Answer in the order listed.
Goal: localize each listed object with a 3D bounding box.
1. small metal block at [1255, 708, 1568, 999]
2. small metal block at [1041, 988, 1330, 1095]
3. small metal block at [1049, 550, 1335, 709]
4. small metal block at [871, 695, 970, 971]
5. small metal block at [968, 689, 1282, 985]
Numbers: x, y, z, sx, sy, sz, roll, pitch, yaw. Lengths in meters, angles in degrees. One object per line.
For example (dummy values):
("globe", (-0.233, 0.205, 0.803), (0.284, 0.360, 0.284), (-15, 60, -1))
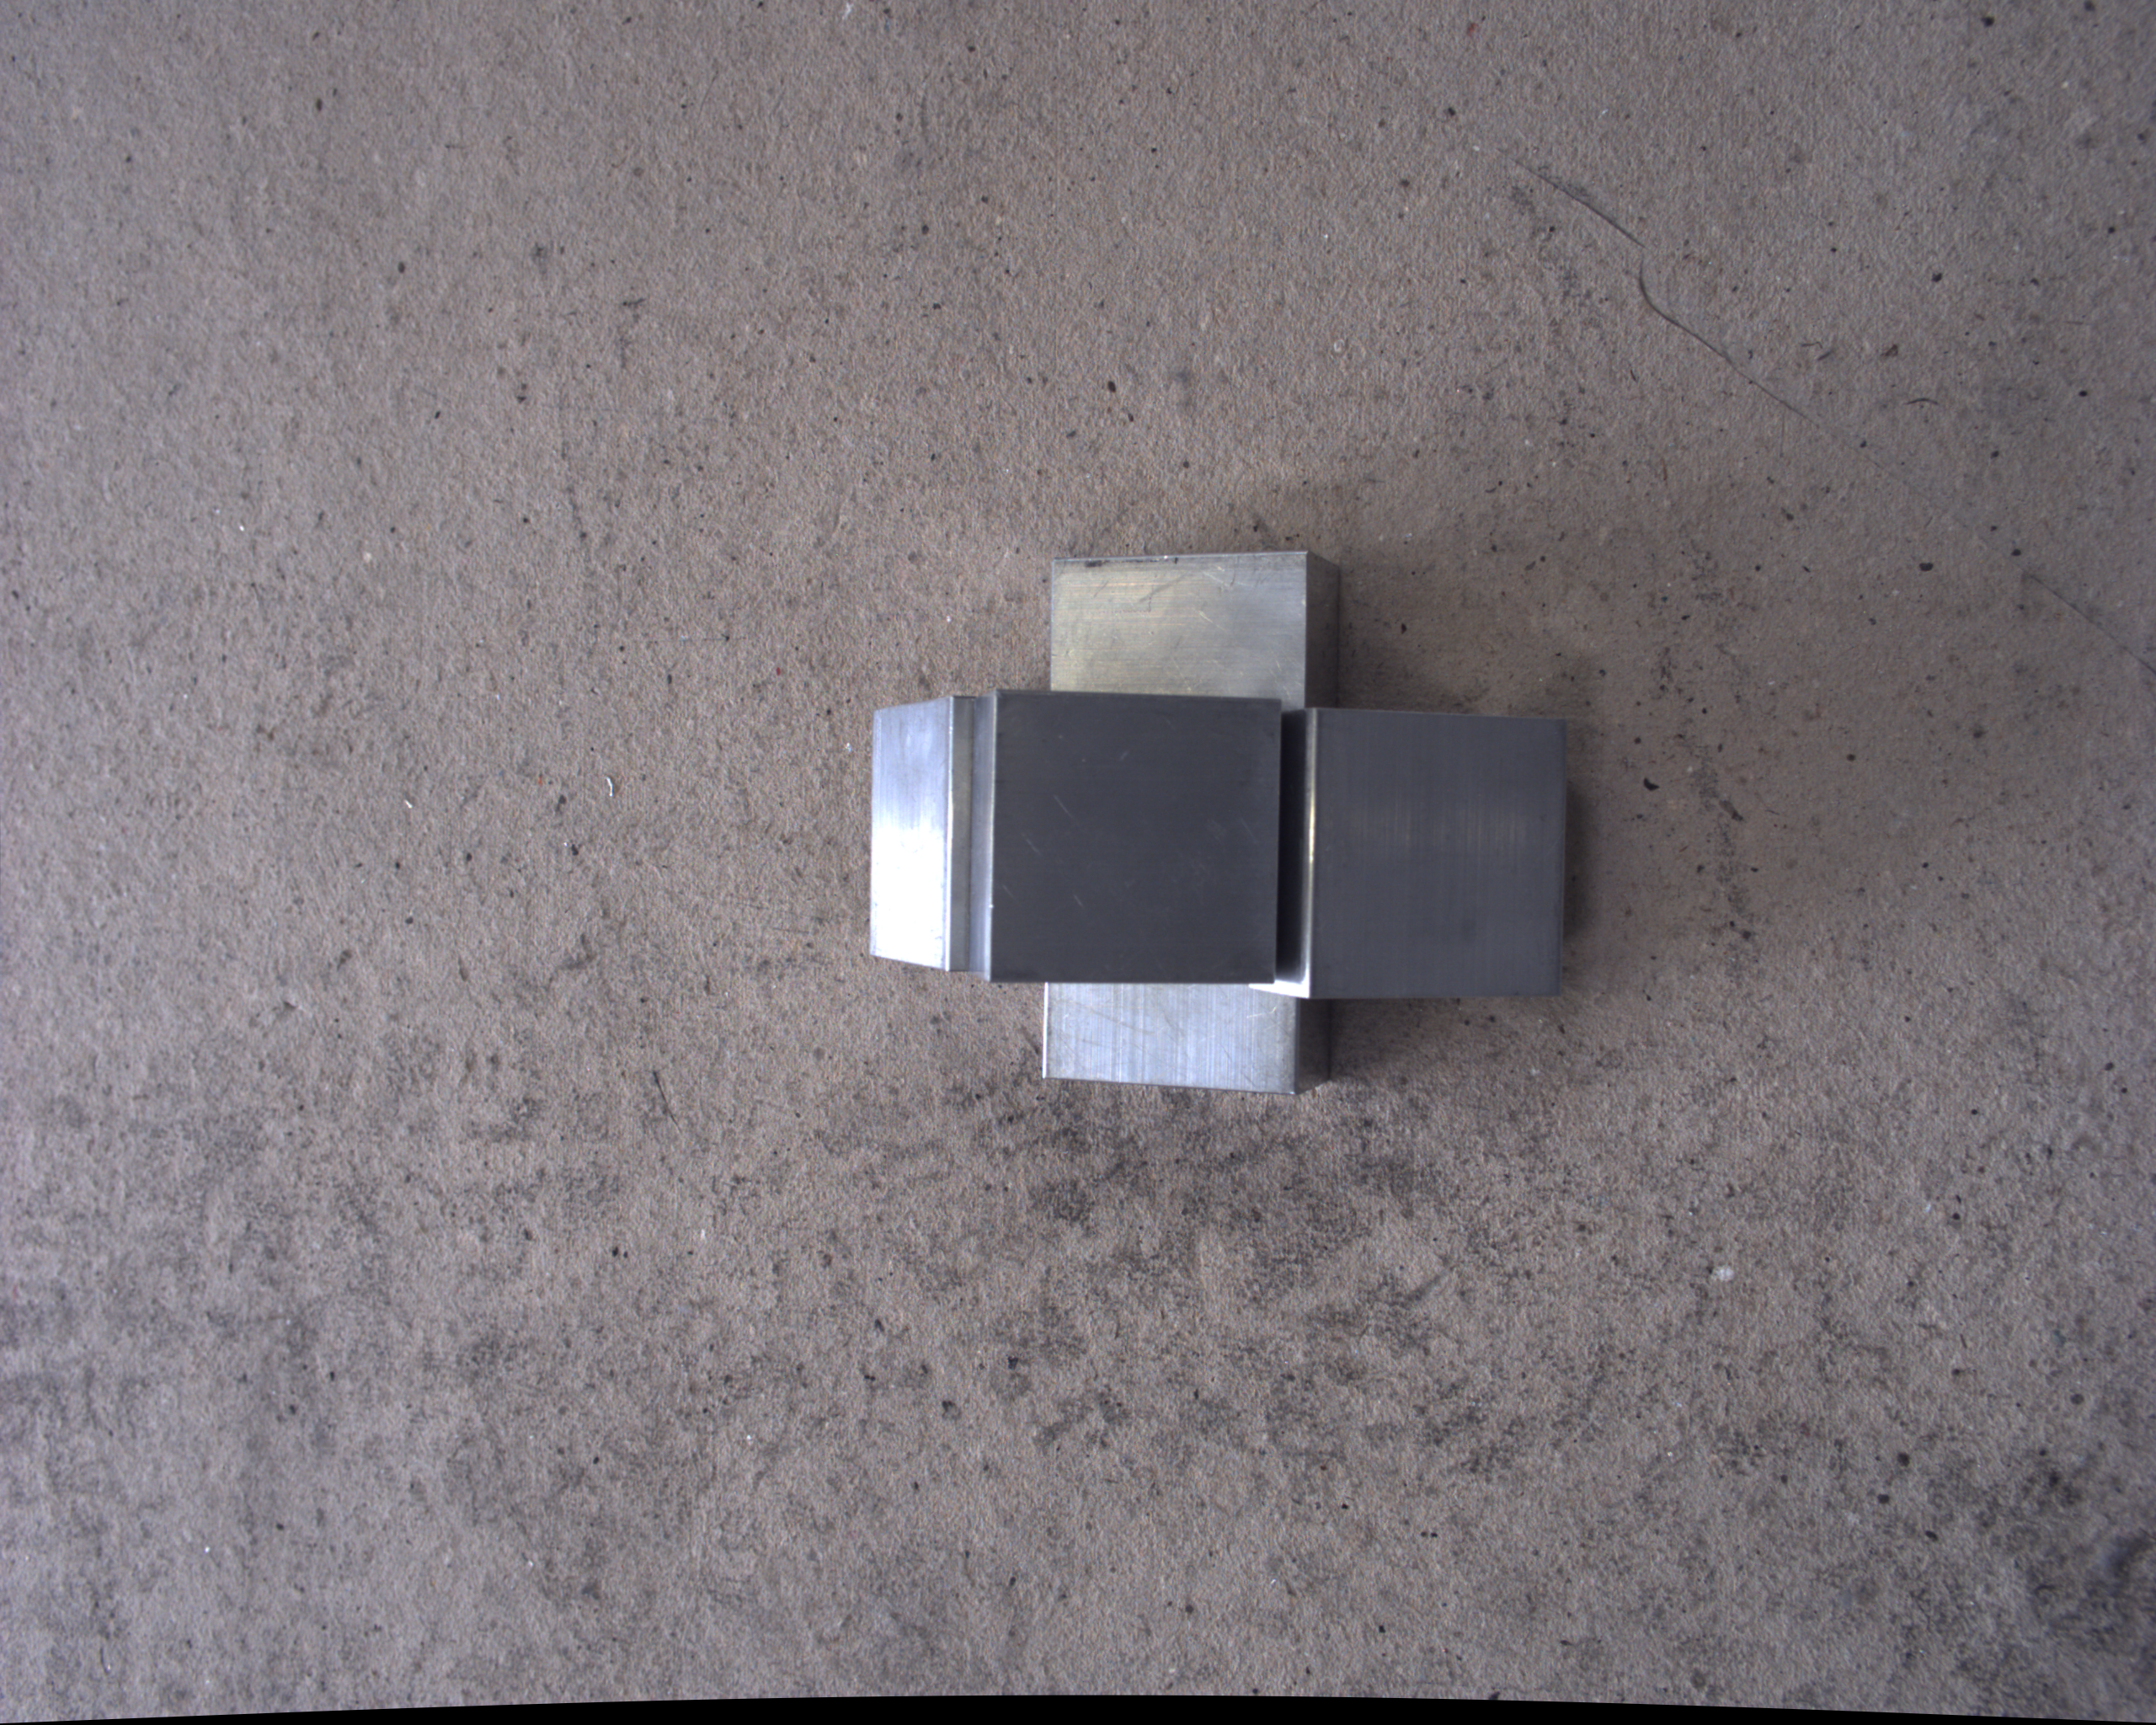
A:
("small metal block", (0.059, -0.001, 0.376), (0.050, 0.025, 0.050), (1, 91, -20))
("small metal block", (0.021, 0.017, 0.402), (0.050, 0.025, 0.050), (1, 90, 20))
("small metal block", (0.022, -0.033, 0.402), (0.050, 0.025, 0.050), (1, 90, 20))
("small metal block", (-0.020, -0.006, 0.403), (0.025, 0.050, 0.050), (0, 91, -22))
("small metal block", (0.008, -0.004, 0.369), (0.050, 0.025, 0.050), (1, 91, -11))
